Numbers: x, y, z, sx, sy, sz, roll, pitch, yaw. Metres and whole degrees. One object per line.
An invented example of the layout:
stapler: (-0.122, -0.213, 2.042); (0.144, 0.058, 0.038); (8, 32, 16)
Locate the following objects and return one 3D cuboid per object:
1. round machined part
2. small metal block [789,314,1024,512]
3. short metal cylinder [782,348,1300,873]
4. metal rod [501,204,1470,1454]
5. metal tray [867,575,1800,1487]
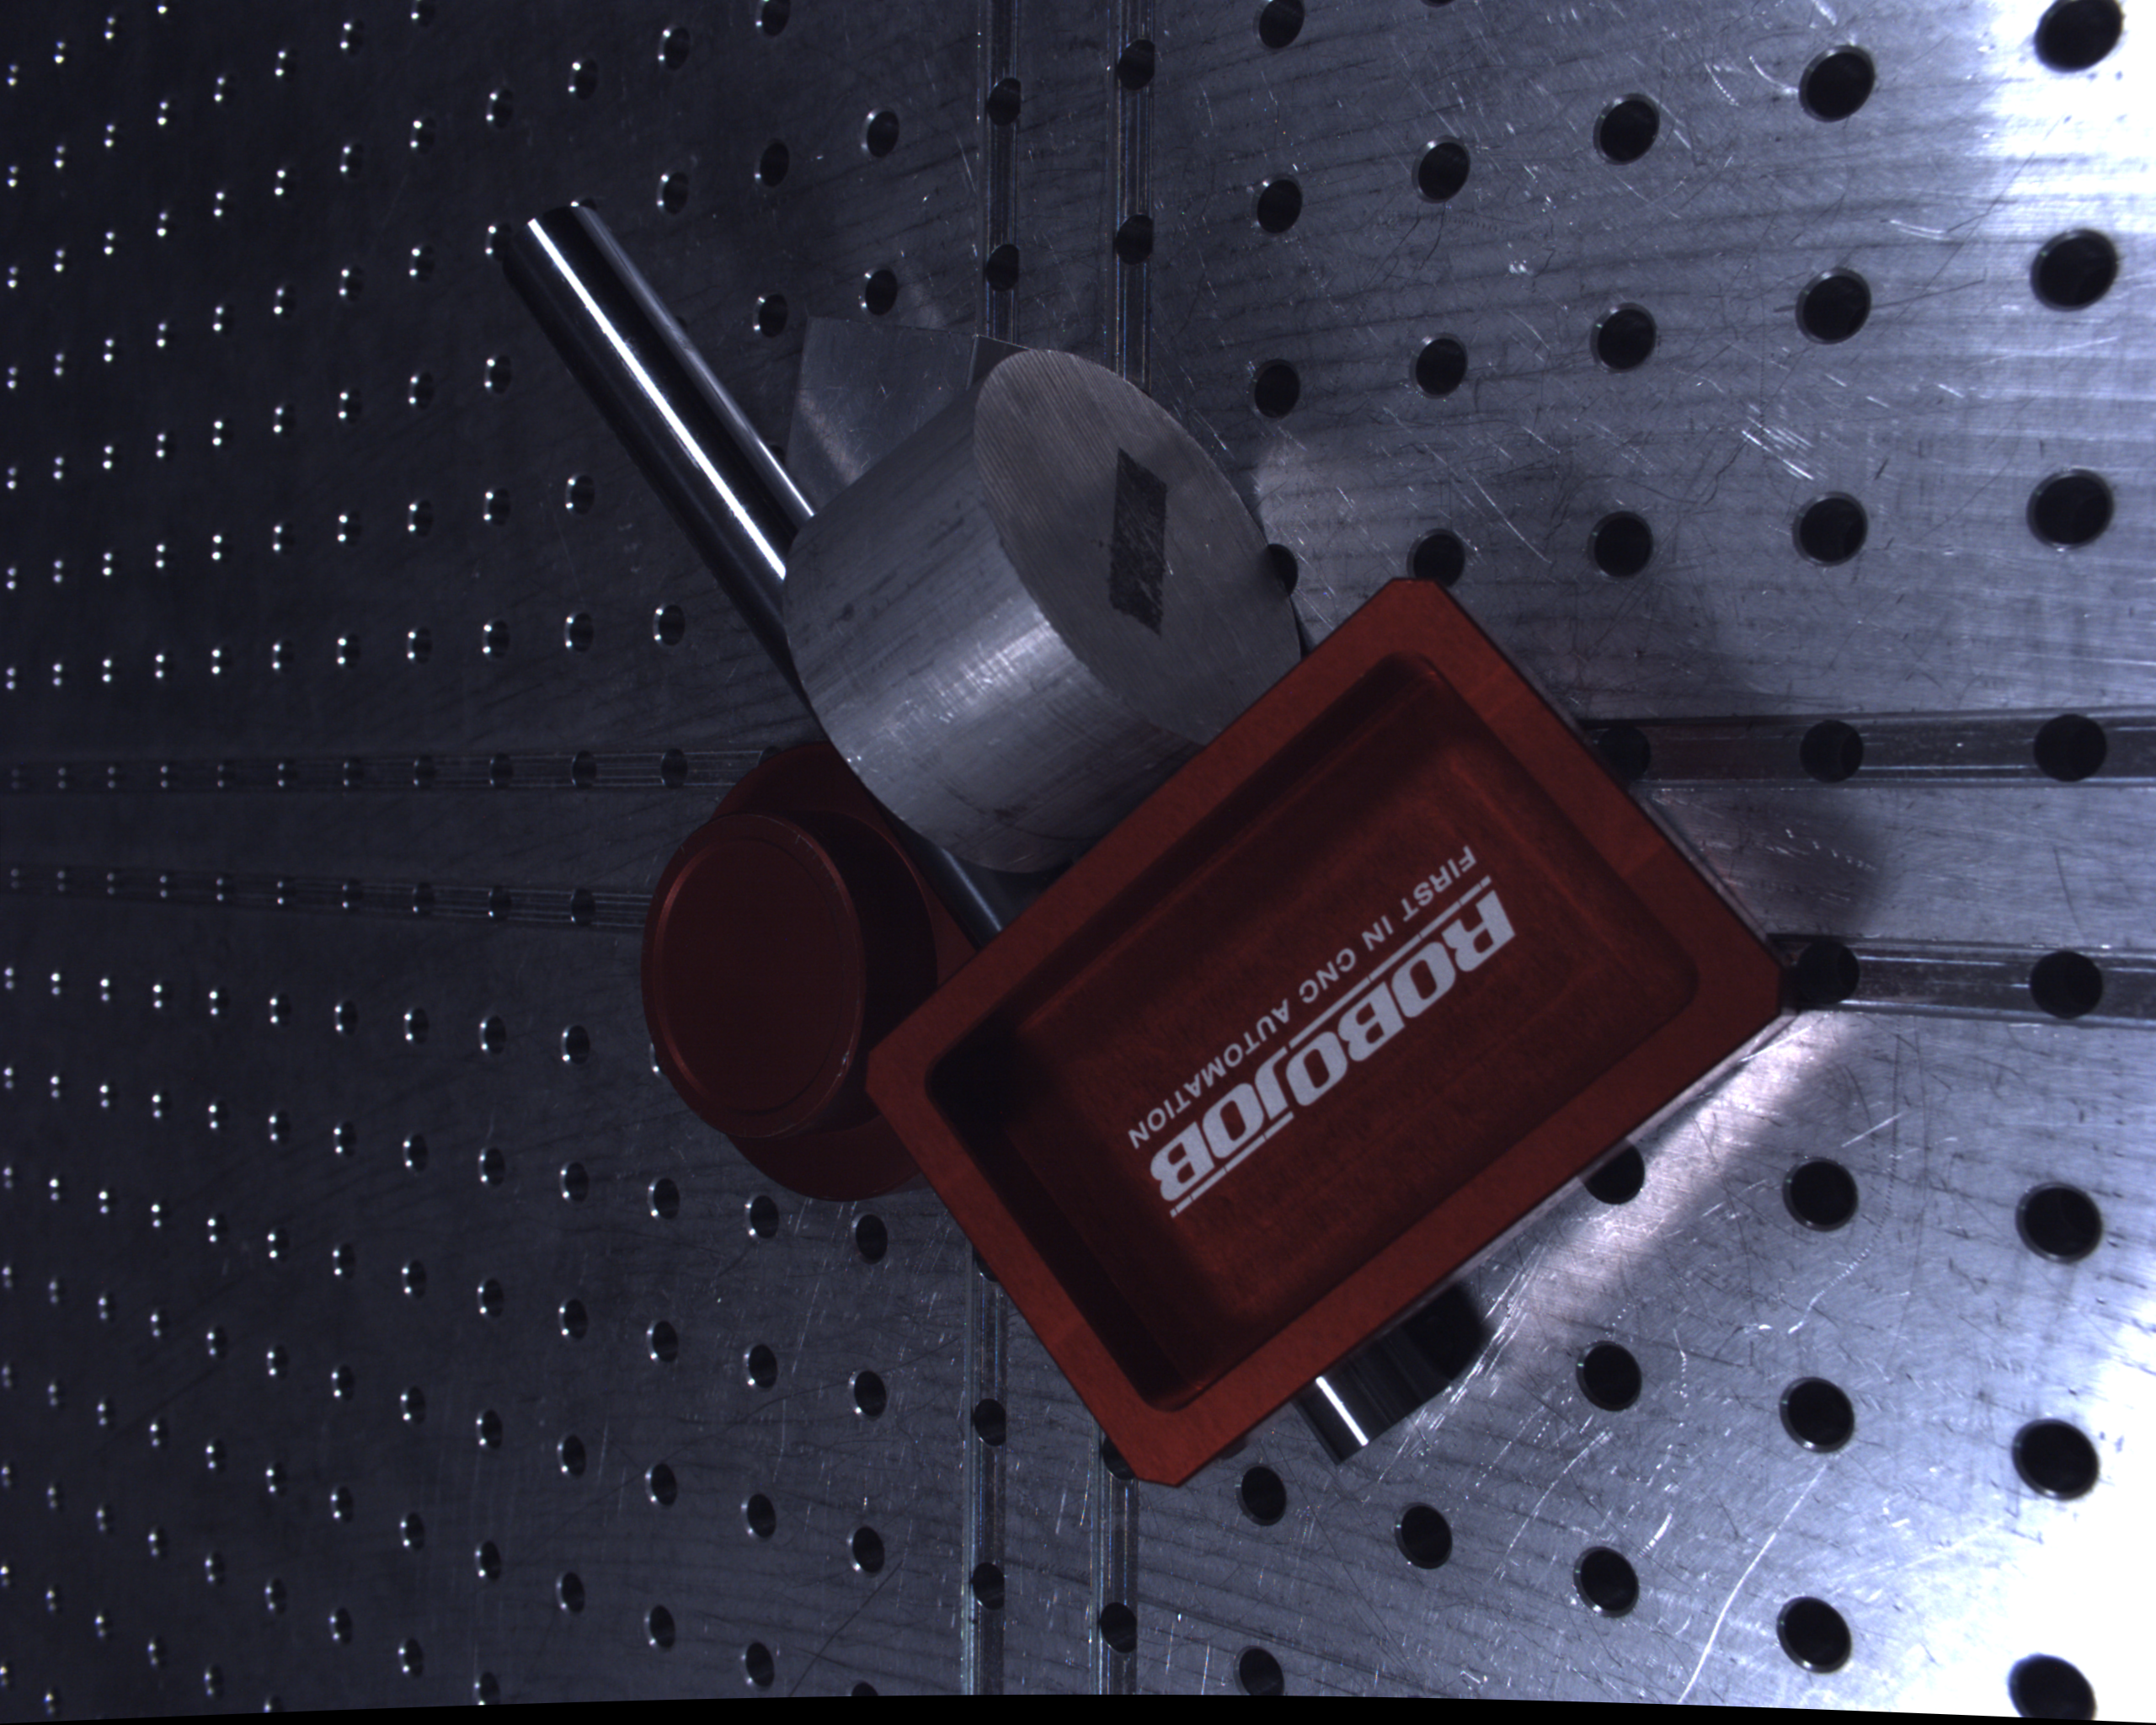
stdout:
round machined part: (-0.055, 0.023, 0.440); (0.098, 0.042, 0.097); (0, 90, 39)
small metal block: (-0.034, -0.085, 0.436); (0.050, 0.025, 0.050); (17, 101, 38)
short metal cylinder: (-0.006, -0.045, 0.376); (0.050, 0.081, 0.080); (-31, 71, 35)
metal rod: (-0.027, -0.018, 0.408); (0.025, 0.025, 0.299); (-47, 70, 29)
metal tray: (0.039, 0.028, 0.345); (0.130, 0.030, 0.090); (-42, 71, 14)
